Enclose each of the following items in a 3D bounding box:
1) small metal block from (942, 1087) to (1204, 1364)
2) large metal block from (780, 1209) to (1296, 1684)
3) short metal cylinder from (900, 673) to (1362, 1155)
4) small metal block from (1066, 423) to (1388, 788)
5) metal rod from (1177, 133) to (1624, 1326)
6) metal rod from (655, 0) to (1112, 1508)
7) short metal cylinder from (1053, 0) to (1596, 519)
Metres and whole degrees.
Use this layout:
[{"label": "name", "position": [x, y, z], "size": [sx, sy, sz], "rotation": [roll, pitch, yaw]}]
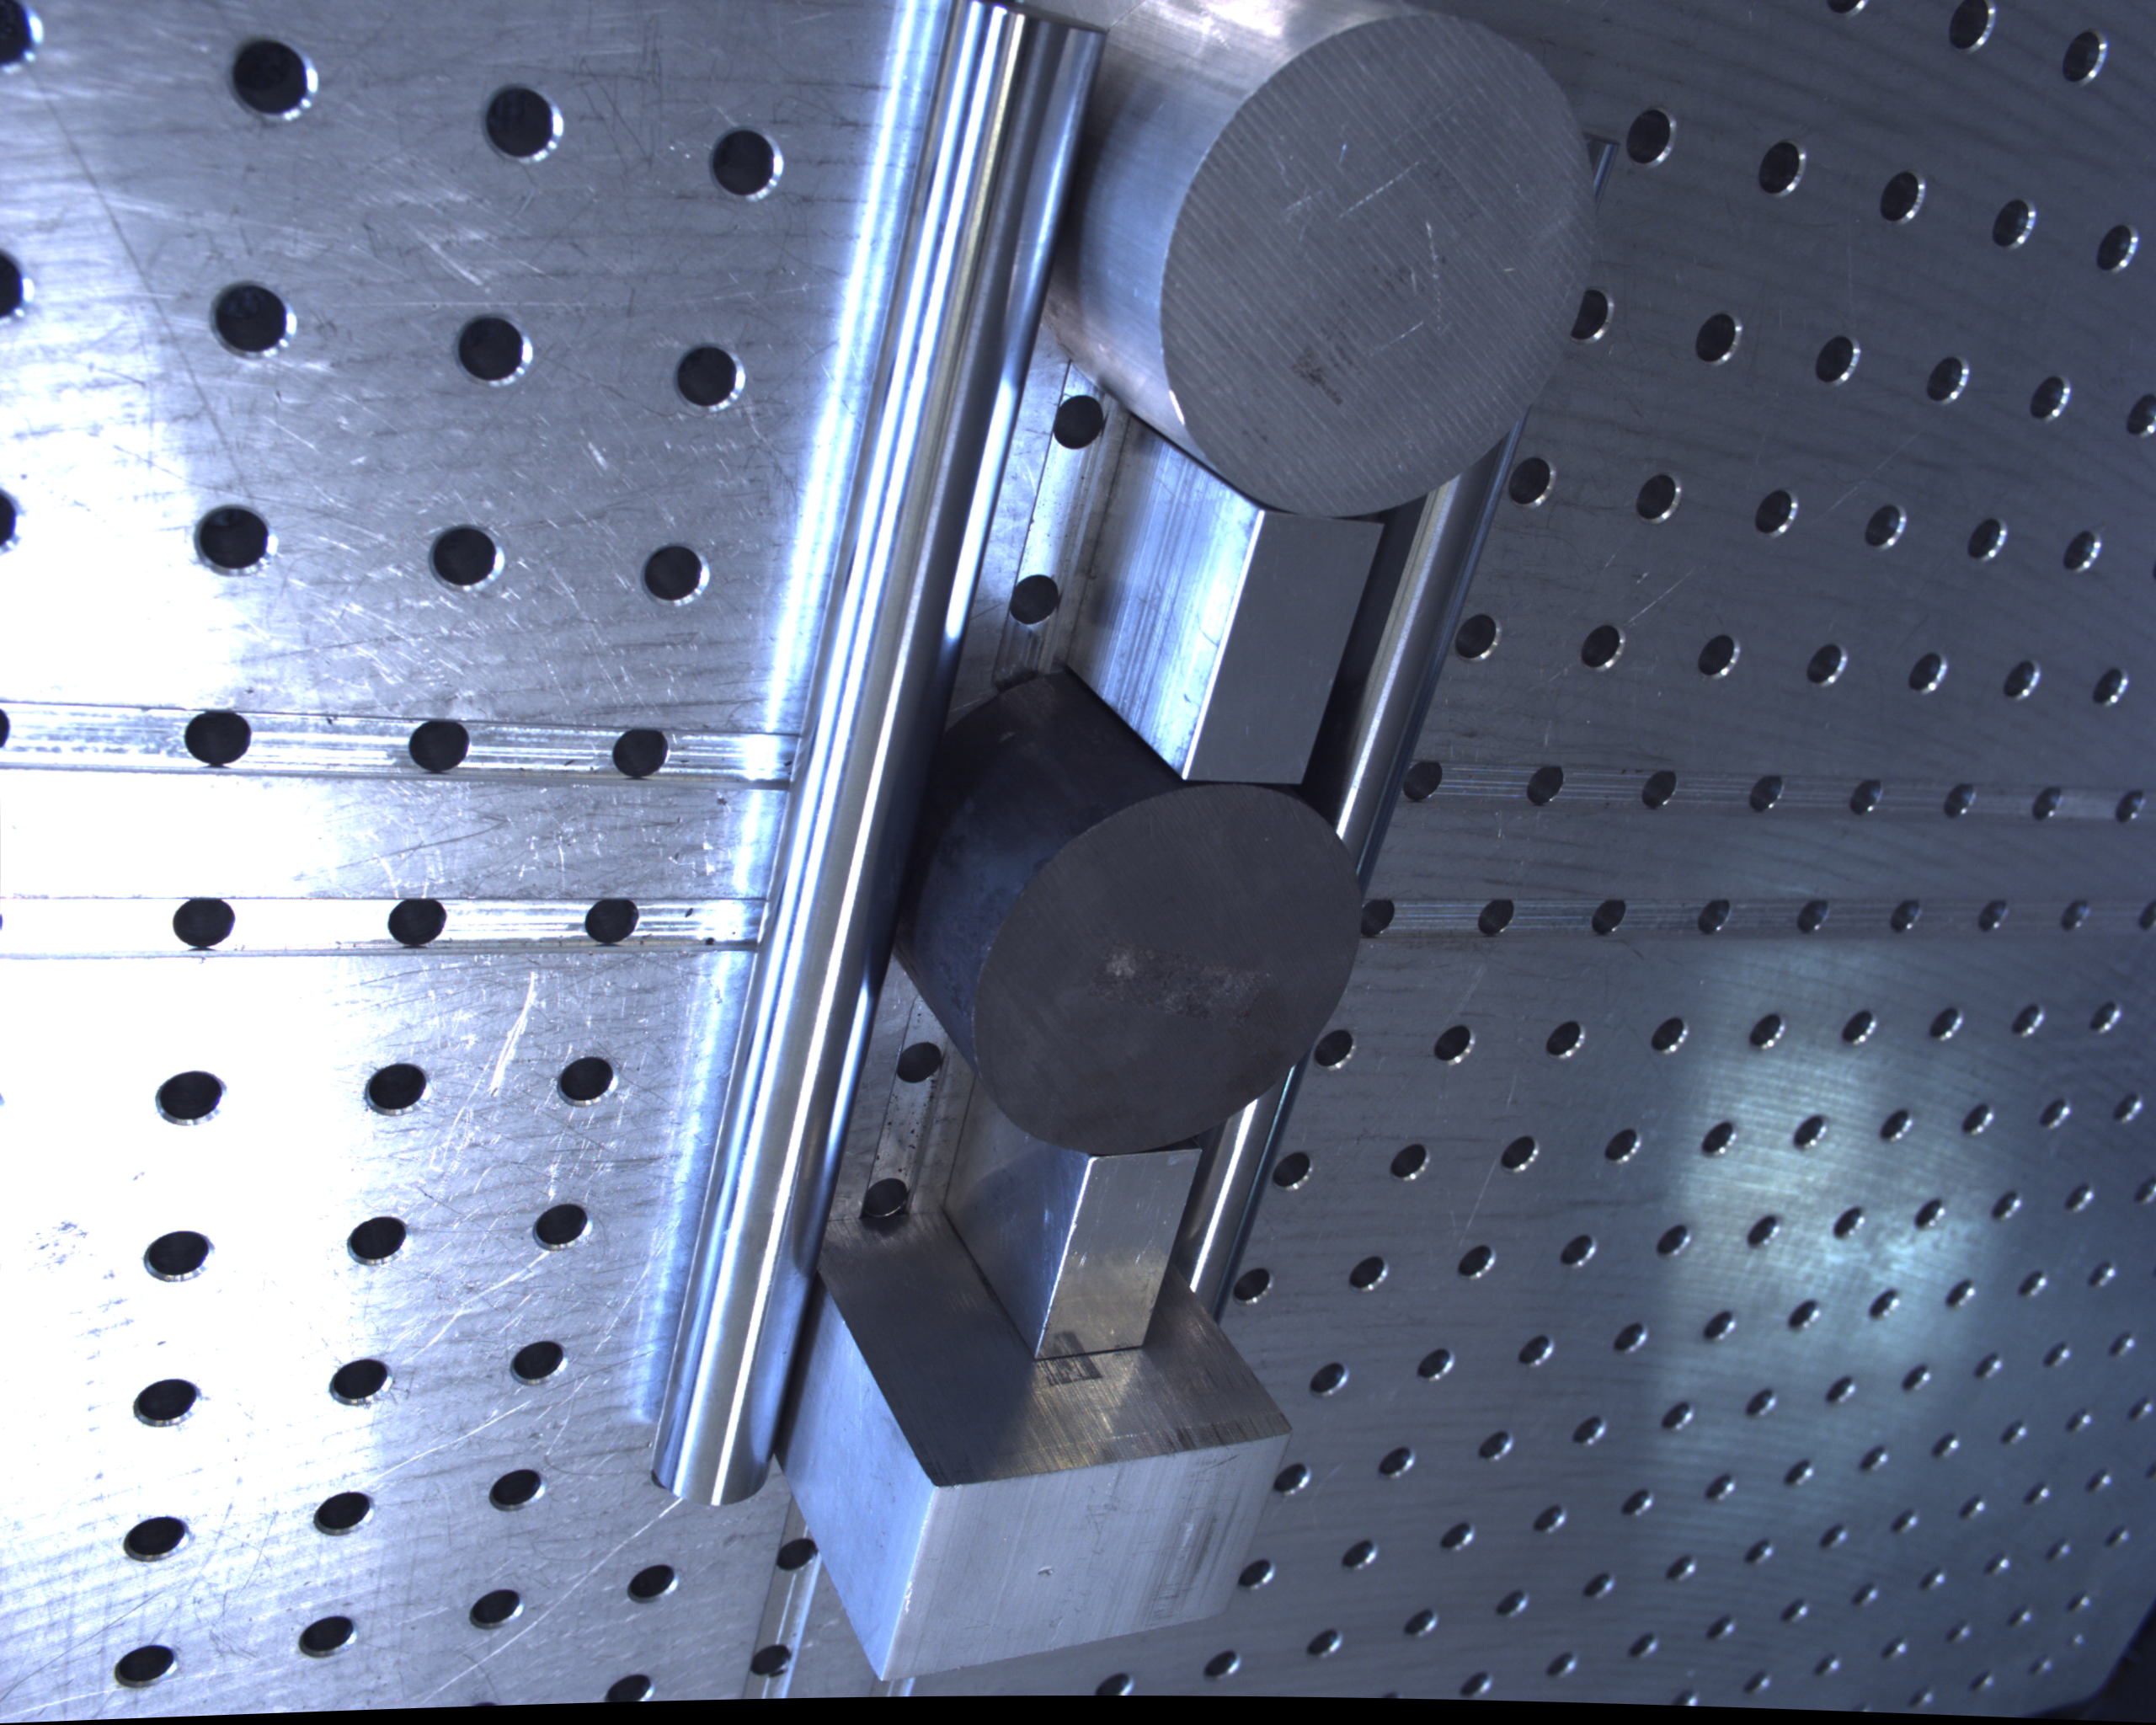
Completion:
[{"label": "small metal block", "position": [-0.003, 0.067, 0.434], "size": [0.025, 0.050, 0.050], "rotation": [0, 118, -29]}, {"label": "large metal block", "position": [-0.014, 0.117, 0.440], "size": [0.081, 0.080, 0.050], "rotation": [1, 118, -29]}, {"label": "short metal cylinder", "position": [0.007, 0.009, 0.404], "size": [0.081, 0.050, 0.079], "rotation": [-14, 124, -21]}, {"label": "small metal block", "position": [0.025, -0.047, 0.378], "size": [0.025, 0.050, 0.050], "rotation": [1, 118, -29]}, {"label": "metal rod", "position": [0.050, -0.002, 0.436], "size": [0.025, 0.025, 0.298], "rotation": [1, 118, -29]}, {"label": "metal rod", "position": [-0.042, -0.001, 0.386], "size": [0.025, 0.025, 0.298], "rotation": [1, 118, -29]}, {"label": "short metal cylinder", "position": [0.038, -0.104, 0.351], "size": [0.081, 0.050, 0.079], "rotation": [-14, 124, -21]}]
